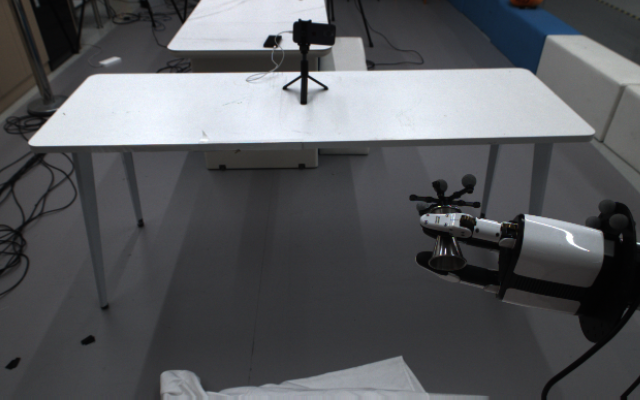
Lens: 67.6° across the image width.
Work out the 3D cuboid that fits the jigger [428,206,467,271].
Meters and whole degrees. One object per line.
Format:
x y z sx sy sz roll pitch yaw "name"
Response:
0.150 0.044 0.587 0.043 0.043 0.071 5 60 4 "jigger"
